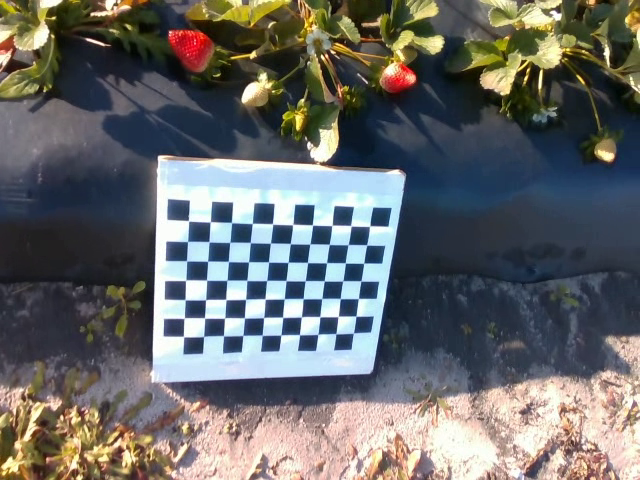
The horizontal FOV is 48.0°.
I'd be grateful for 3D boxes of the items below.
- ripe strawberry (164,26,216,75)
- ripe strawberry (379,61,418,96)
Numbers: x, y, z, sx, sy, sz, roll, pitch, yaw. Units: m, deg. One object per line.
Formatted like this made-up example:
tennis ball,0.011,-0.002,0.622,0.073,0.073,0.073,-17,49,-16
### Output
ripe strawberry,-0.119,-0.178,0.656,0.053,0.044,0.036,28,12,-33
ripe strawberry,0.080,-0.161,0.715,0.045,0.037,0.042,16,36,43
